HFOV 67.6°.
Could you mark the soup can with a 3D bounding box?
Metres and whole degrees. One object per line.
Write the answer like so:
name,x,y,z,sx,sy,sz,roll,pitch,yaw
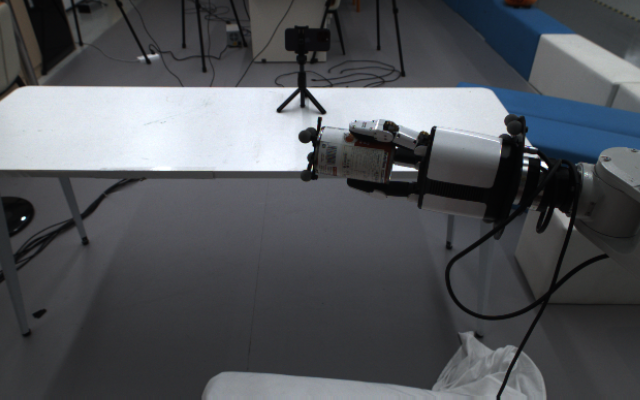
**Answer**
soup can,0.051,-0.062,0.660,0.101,0.067,0.067,9,35,9
